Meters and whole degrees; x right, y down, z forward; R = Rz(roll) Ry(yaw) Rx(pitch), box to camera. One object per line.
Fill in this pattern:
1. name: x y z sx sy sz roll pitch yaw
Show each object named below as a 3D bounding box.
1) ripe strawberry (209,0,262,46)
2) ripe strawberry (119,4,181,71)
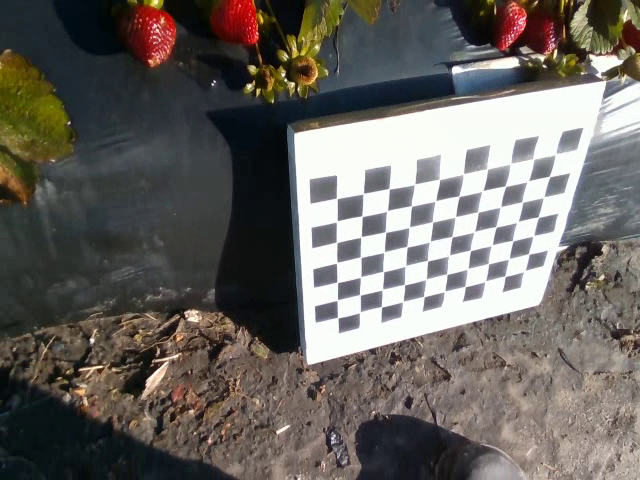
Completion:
1. ripe strawberry: -0.063 -0.169 0.439 0.042 0.049 0.039 -44 -23 18
2. ripe strawberry: -0.131 -0.149 0.422 0.050 0.050 0.045 2 -31 -25
